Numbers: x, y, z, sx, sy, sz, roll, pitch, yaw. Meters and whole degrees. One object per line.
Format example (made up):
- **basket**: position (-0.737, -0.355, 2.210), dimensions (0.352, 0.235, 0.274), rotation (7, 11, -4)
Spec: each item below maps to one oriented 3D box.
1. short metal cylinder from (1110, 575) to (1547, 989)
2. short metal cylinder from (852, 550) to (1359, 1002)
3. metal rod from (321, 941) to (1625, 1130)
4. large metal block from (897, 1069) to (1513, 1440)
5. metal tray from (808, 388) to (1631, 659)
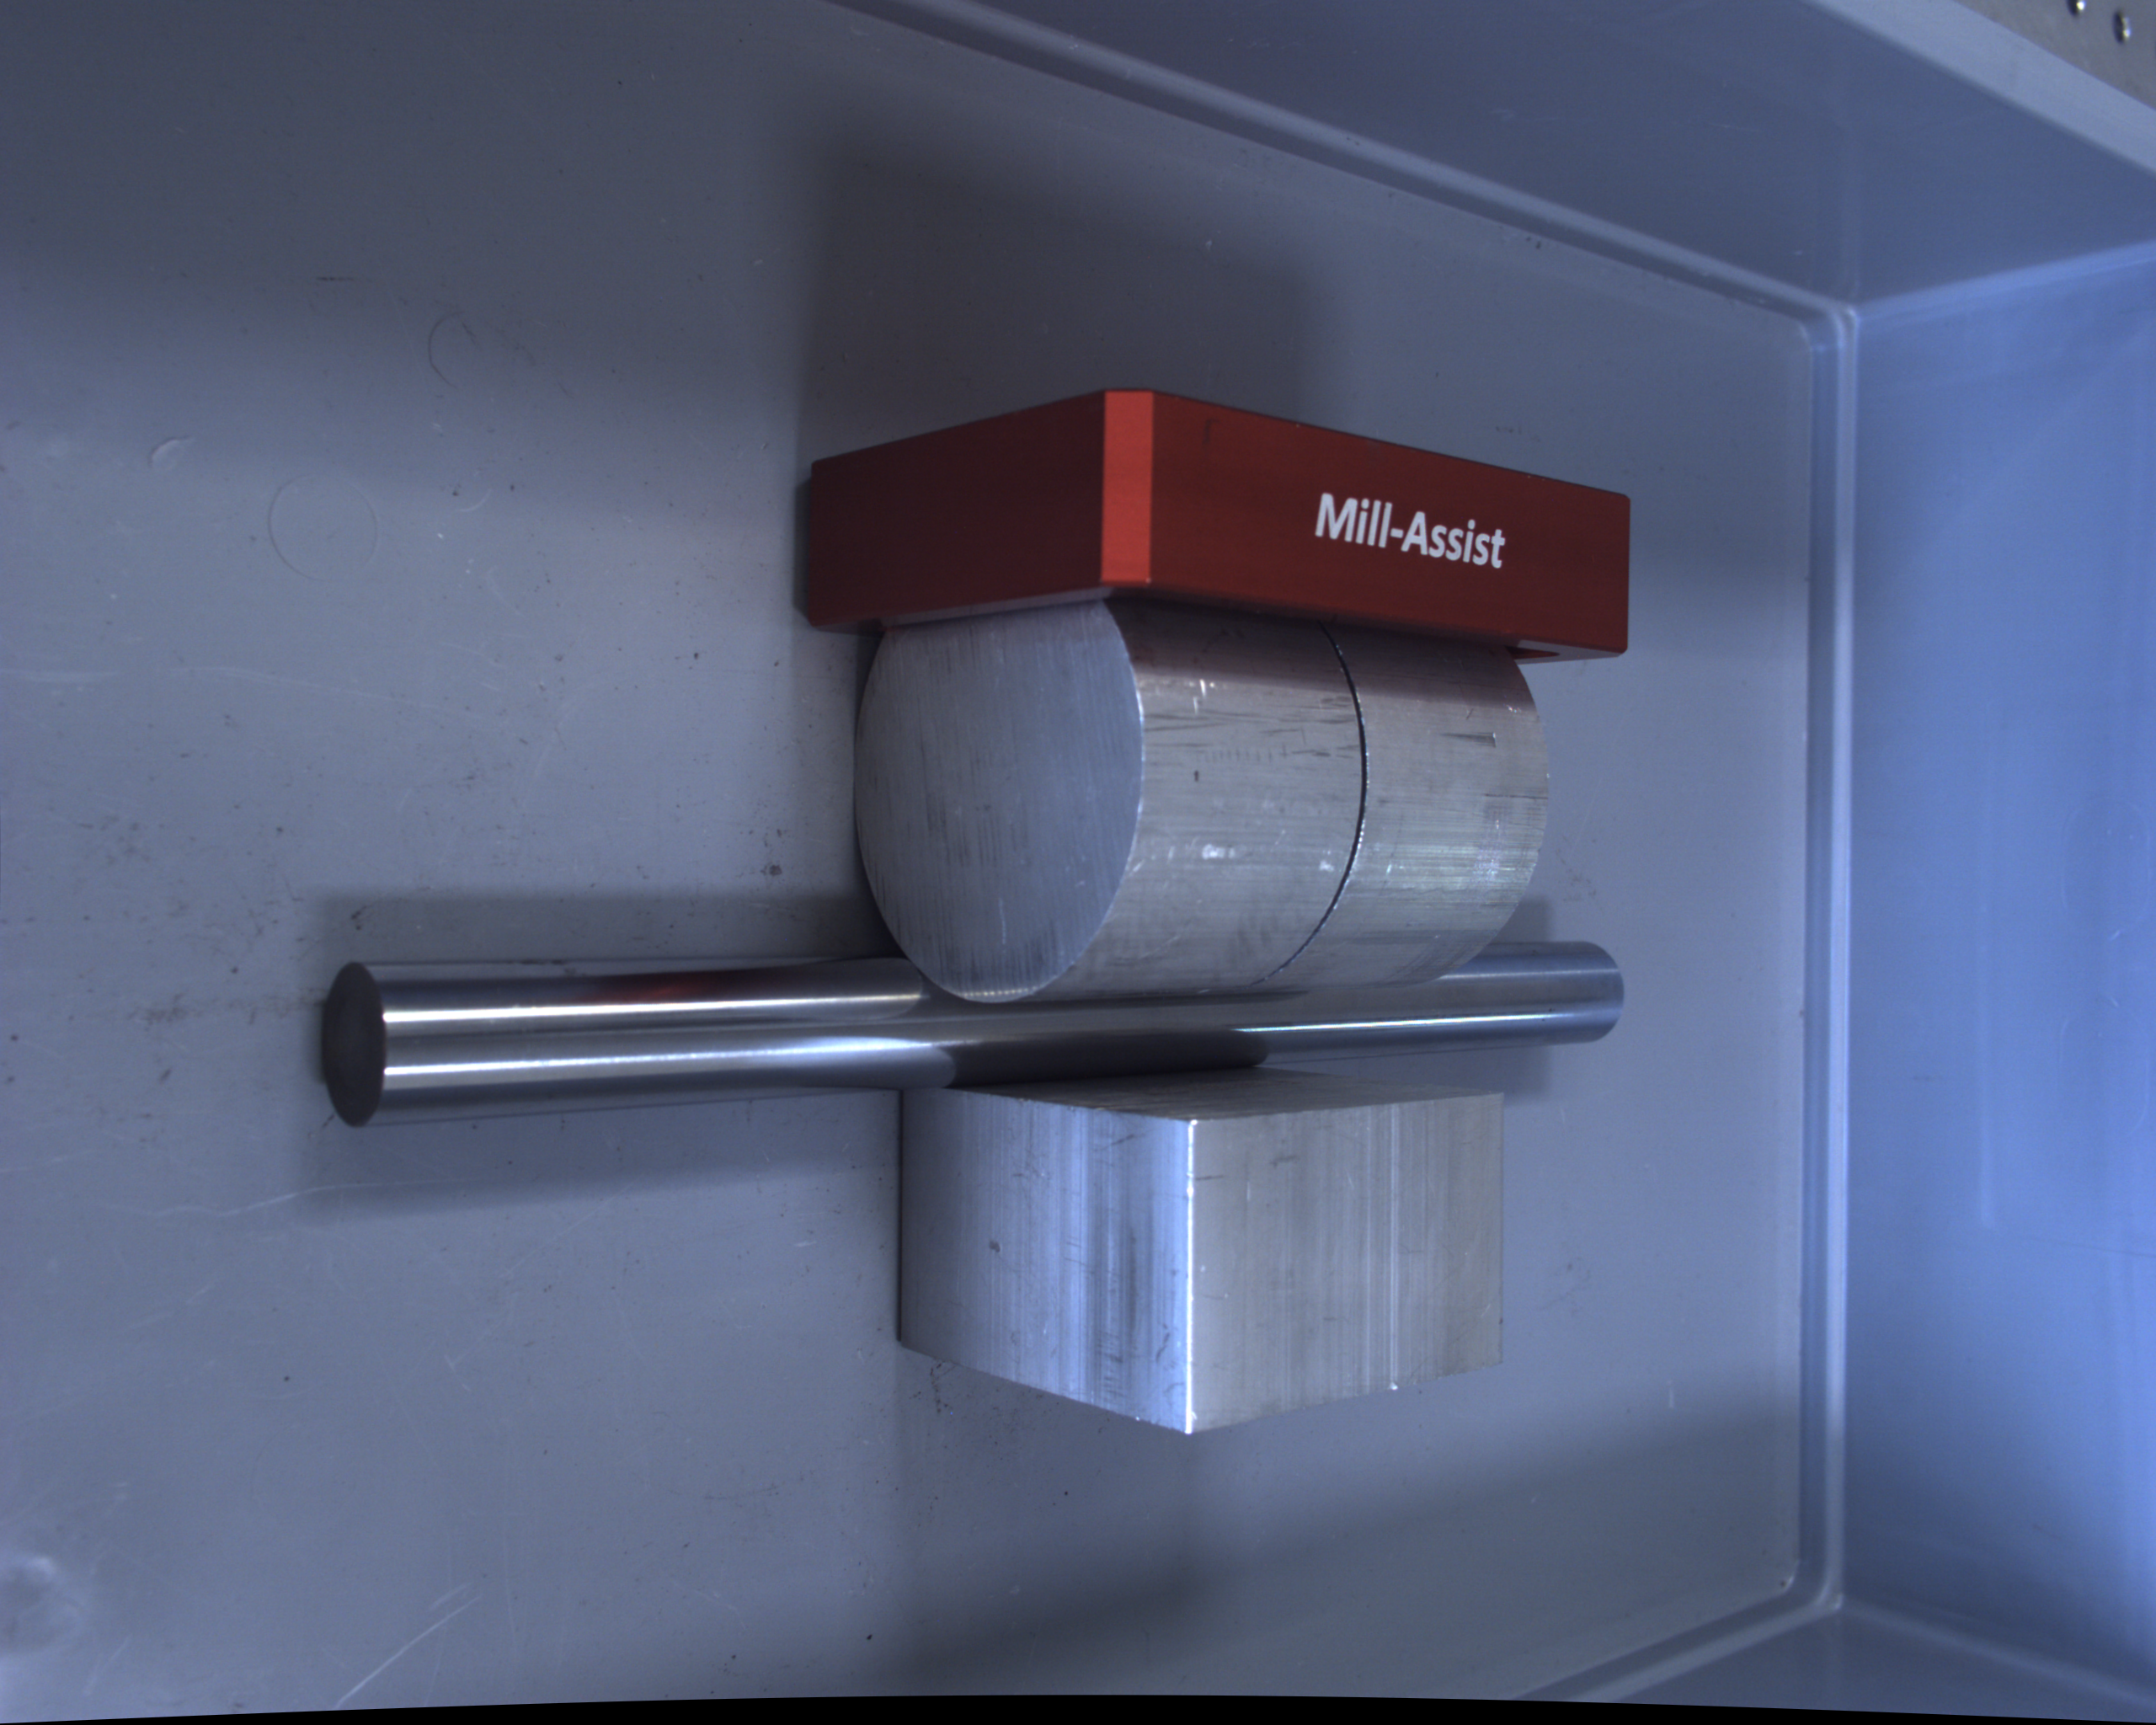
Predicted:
- **short metal cylinder**: position (0.043, -0.015, 0.406), dimensions (0.050, 0.080, 0.080), rotation (2, 89, -40)
- **short metal cylinder**: position (0.003, -0.016, 0.373), dimensions (0.050, 0.080, 0.079), rotation (1, 90, -40)
- **metal rod**: position (0.007, 0.030, 0.410), dimensions (0.302, 0.025, 0.025), rotation (1, 90, -40)
- **large metal block**: position (0.023, 0.067, 0.388), dimensions (0.081, 0.080, 0.050), rotation (1, 90, -40)
- **metal tray**: position (0.028, -0.056, 0.386), dimensions (0.131, 0.090, 0.030), rotation (1, 89, -40)
